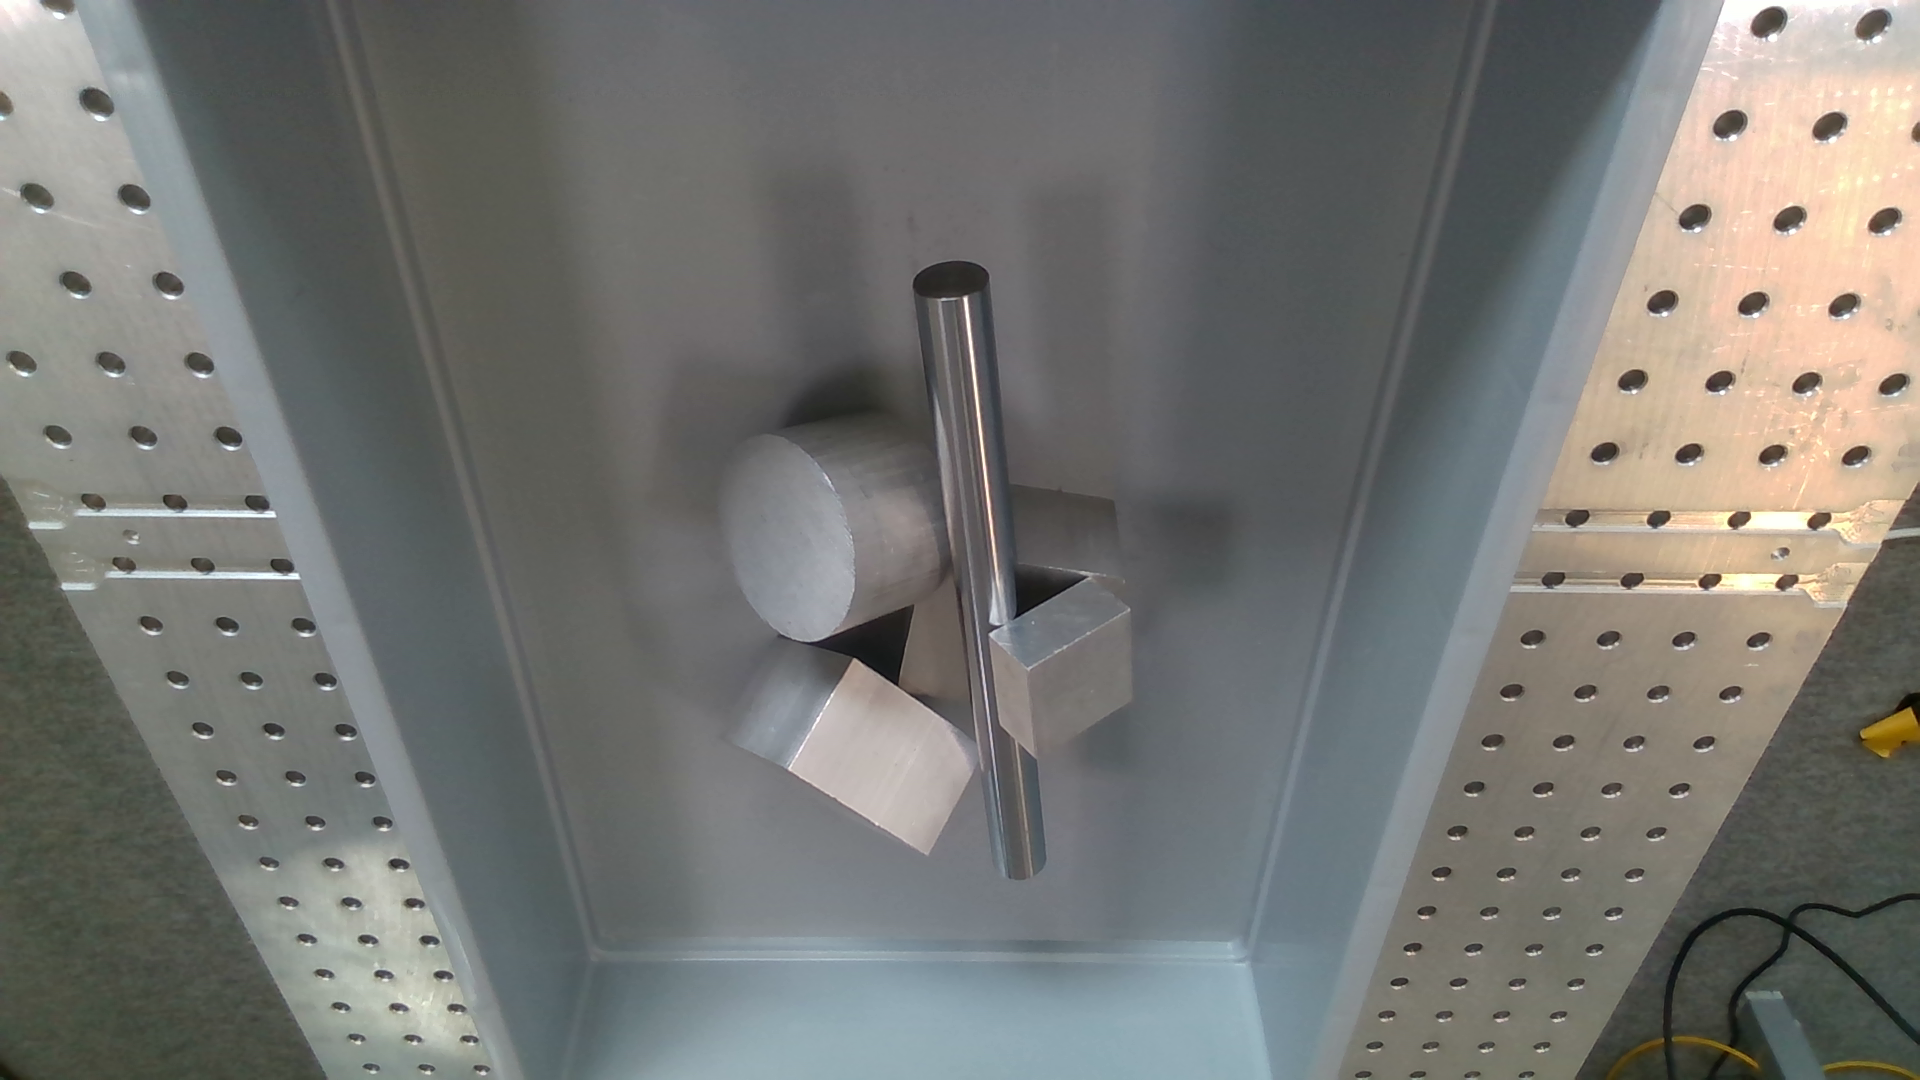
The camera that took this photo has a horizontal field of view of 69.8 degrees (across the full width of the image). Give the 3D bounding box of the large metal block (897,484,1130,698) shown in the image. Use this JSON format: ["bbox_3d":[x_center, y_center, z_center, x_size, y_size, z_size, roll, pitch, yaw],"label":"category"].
[{"bbox_3d":[0.020,0.023,0.581,0.080,0.050,0.080,8,130,-7],"label":"large metal block"}]

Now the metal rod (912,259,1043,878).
[{"bbox_3d":[0.012,0.031,0.539,0.025,0.025,0.301,-4,130,4],"label":"metal rod"}]

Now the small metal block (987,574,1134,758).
[{"bbox_3d":[0.040,0.049,0.539,0.050,0.025,0.050,-28,134,-23],"label":"small metal block"}]

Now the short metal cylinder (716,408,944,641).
[{"bbox_3d":[-0.049,-0.007,0.529,0.050,0.080,0.080,-20,146,-43],"label":"short metal cylinder"}]

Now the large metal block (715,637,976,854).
[{"bbox_3d":[-0.049,0.089,0.610,0.080,0.050,0.080,37,164,-27],"label":"large metal block"}]
